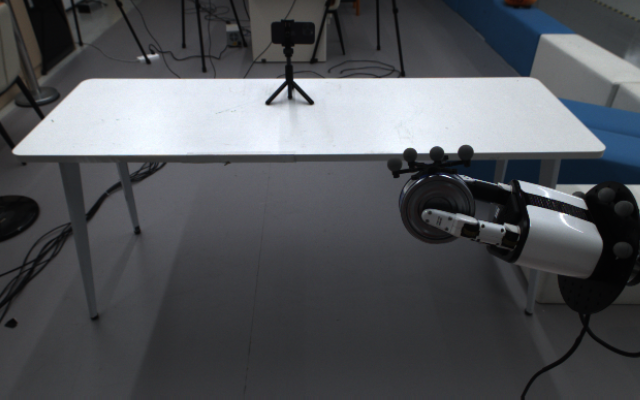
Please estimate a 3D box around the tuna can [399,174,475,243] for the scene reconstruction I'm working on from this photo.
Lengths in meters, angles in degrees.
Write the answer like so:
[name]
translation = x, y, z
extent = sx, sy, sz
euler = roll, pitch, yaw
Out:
[tuna can]
translation = 0.141, 0.013, 0.566
extent = 0.085, 0.085, 0.034
euler = 6, 18, 5
